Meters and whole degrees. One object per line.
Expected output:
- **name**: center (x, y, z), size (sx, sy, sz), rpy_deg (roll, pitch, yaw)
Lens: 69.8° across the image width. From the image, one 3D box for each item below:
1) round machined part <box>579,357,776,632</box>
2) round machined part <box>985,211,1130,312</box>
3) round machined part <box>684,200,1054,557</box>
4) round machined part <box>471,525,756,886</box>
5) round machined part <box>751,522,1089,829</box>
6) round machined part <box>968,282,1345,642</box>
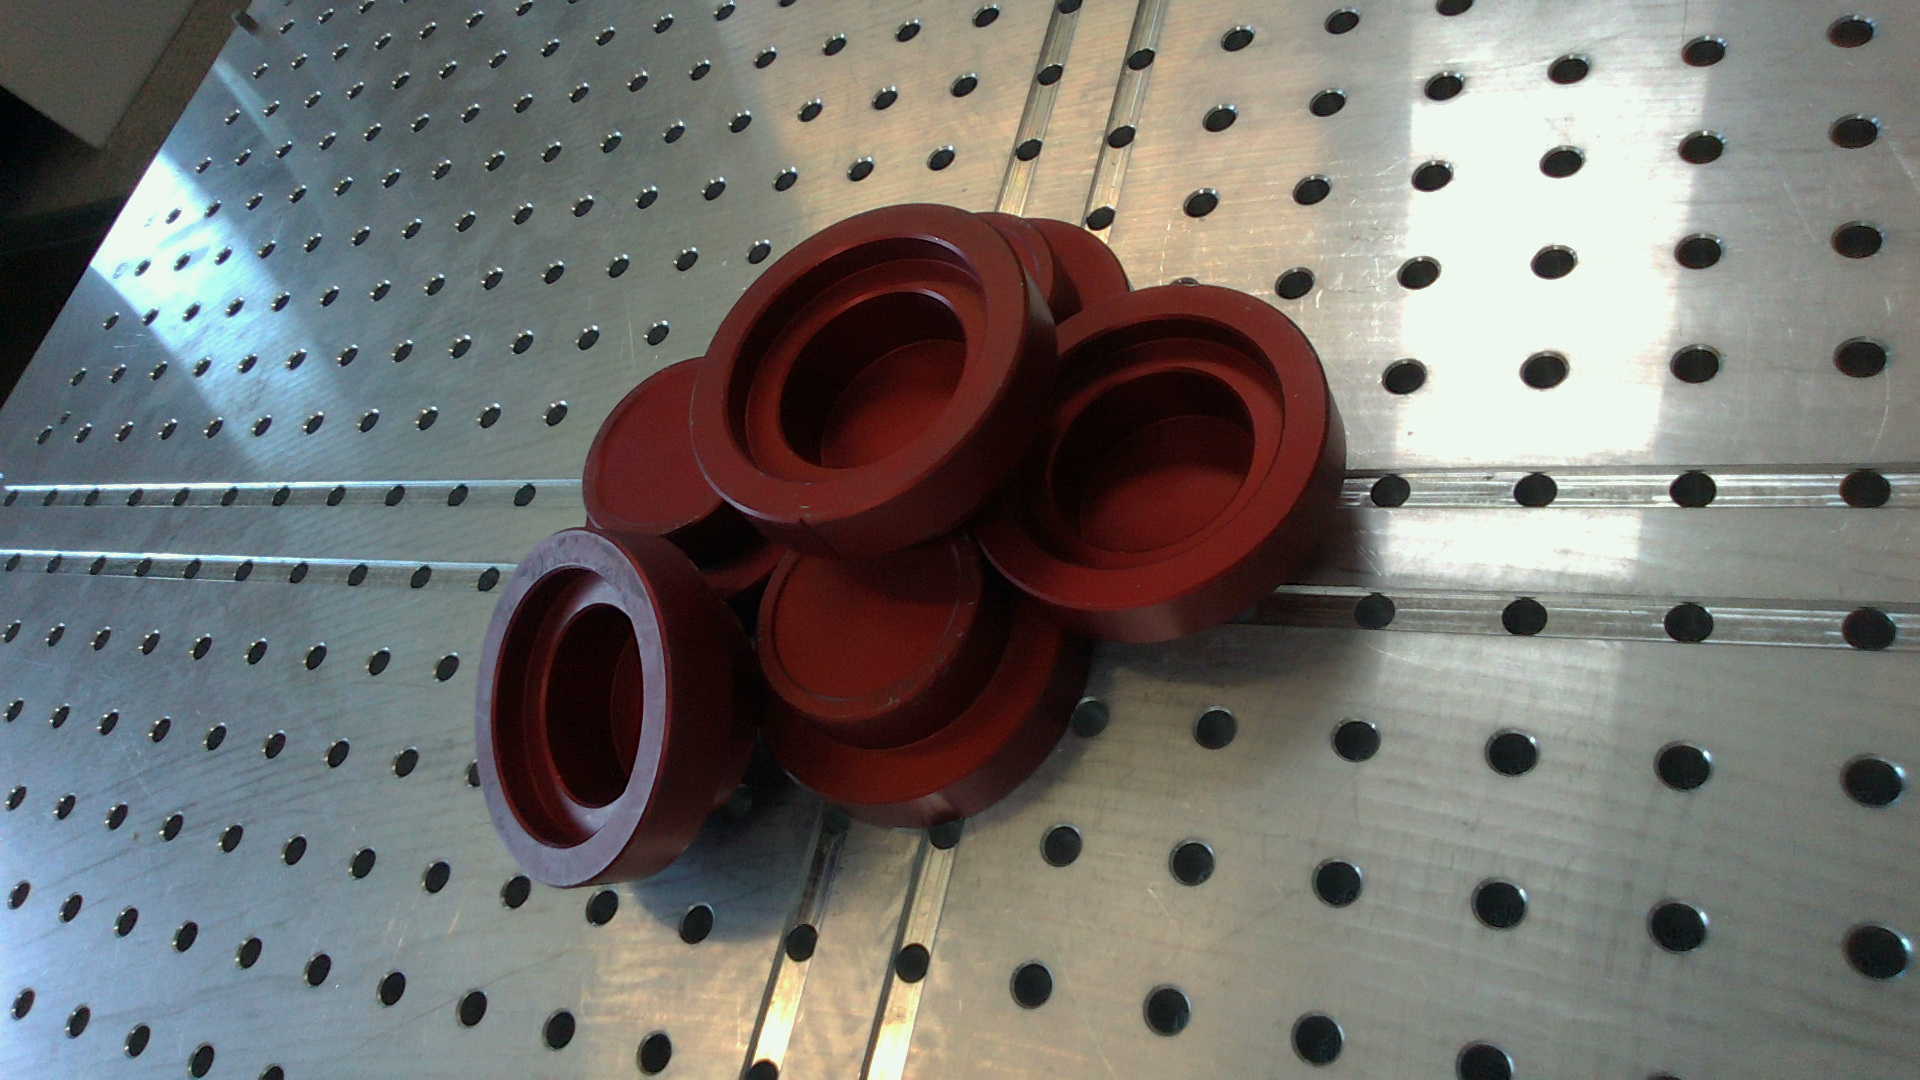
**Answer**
- **round machined part**: center (-0.082, -0.020, 0.442), size (0.098, 0.042, 0.098), rpy_deg (-13, 56, 21)
- **round machined part**: center (0.005, -0.061, 0.421), size (0.098, 0.042, 0.098), rpy_deg (-13, 56, 21)
- **round machined part**: center (-0.020, -0.038, 0.365), size (0.098, 0.042, 0.098), rpy_deg (-13, 56, 21)
- **round machined part**: center (-0.096, 0.047, 0.392), size (0.098, 0.042, 0.098), rpy_deg (-7, 80, 42)
- **round machined part**: center (-0.018, 0.026, 0.379), size (0.098, 0.042, 0.098), rpy_deg (-13, 56, 21)
- **round machined part**: center (0.053, -0.017, 0.367), size (0.098, 0.042, 0.098), rpy_deg (-13, 56, 21)
